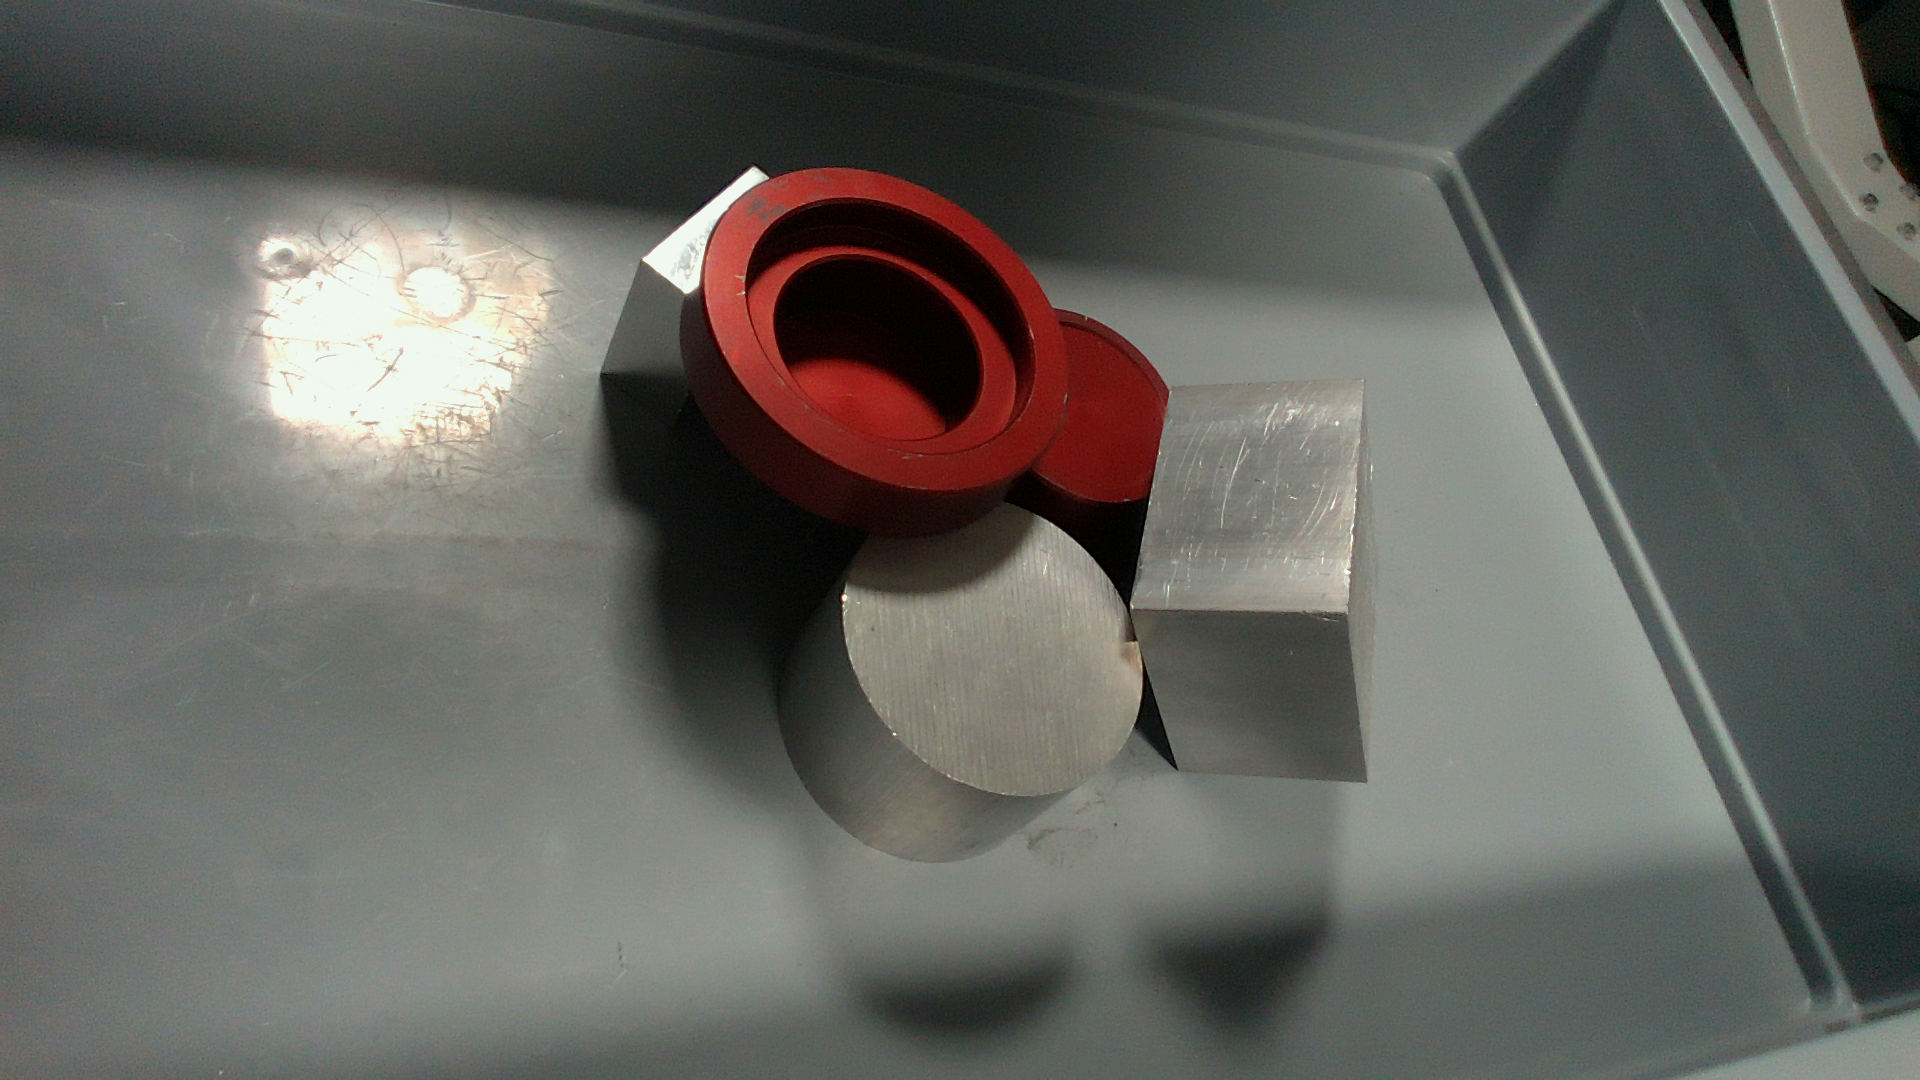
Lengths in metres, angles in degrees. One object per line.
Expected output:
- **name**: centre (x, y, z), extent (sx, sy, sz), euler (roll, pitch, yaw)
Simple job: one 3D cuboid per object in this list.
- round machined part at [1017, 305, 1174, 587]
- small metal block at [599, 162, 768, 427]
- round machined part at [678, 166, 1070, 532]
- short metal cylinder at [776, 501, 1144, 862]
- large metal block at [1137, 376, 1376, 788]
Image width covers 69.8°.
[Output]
- **round machined part**: centre (0.028, -0.031, 0.408), extent (0.098, 0.042, 0.098), euler (14, 56, -21)
- **small metal block**: centre (-0.068, -0.067, 0.376), extent (0.025, 0.050, 0.050), euler (38, 51, -3)
- **round machined part**: centre (-0.024, -0.044, 0.354), extent (0.098, 0.042, 0.098), euler (14, 56, -21)
- **short metal cylinder**: centre (-0.001, 0.035, 0.350), extent (0.080, 0.050, 0.080), euler (14, 56, -21)
- **large metal block**: centre (0.087, 0.012, 0.383), extent (0.050, 0.080, 0.080), euler (0, 50, 20)
